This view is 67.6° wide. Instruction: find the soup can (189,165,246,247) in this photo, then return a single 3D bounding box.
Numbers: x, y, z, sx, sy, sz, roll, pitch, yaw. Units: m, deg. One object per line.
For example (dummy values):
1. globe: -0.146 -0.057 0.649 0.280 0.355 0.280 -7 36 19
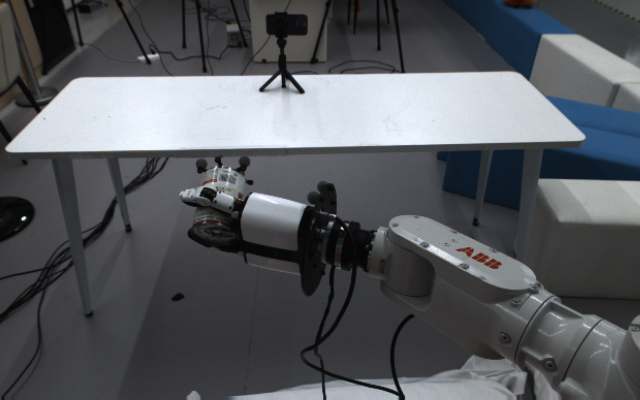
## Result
1. soup can: -0.149 0.010 0.718 0.067 0.067 0.101 3 59 1
